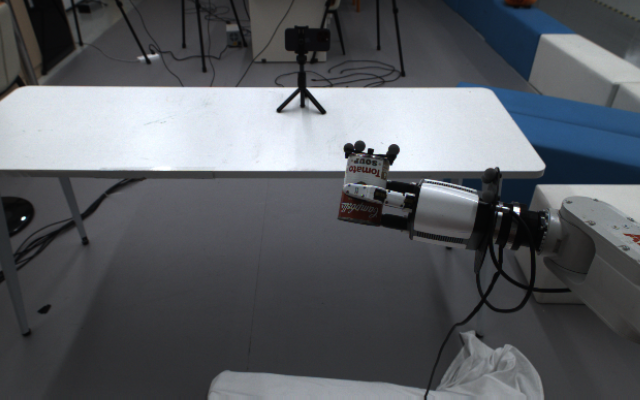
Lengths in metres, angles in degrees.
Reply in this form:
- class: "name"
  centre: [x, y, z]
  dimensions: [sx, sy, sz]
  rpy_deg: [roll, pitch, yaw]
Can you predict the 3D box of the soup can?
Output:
- class: "soup can"
  centre: [0.068, -0.016, 0.749]
  dimensions: [0.067, 0.101, 0.067]
  rpy_deg: [9, -5, 1]
